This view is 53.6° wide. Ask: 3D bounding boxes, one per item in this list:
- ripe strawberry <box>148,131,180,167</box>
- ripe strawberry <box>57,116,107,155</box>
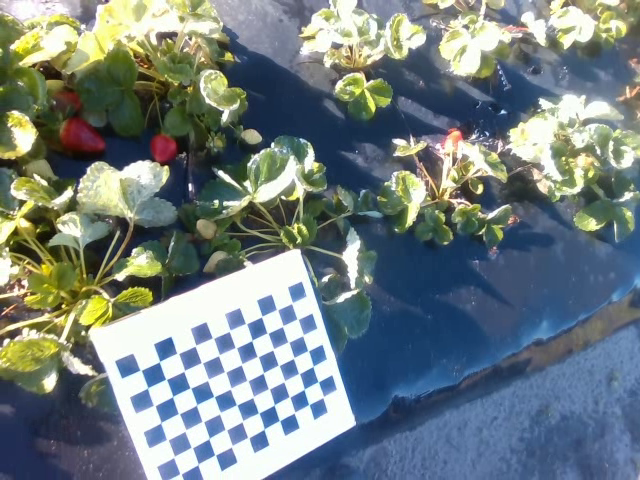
[{"bbox_3d":[-0.200,-0.115,0.800,0.039,0.047,0.040,22,-27,-26],"label":"ripe strawberry"},{"bbox_3d":[-0.289,-0.126,0.768,0.056,0.044,0.040,33,-21,-22],"label":"ripe strawberry"}]
